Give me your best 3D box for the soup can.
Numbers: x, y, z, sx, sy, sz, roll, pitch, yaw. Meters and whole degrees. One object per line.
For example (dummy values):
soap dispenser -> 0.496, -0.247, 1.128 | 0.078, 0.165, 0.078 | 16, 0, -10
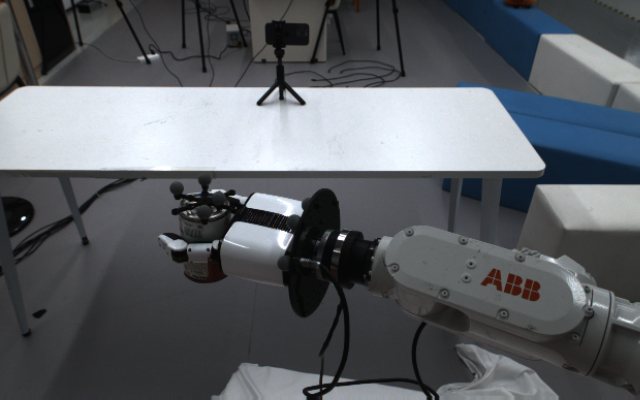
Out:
soup can -> -0.149, 0.052, 0.642 | 0.067, 0.101, 0.067 | 3, 31, -2
